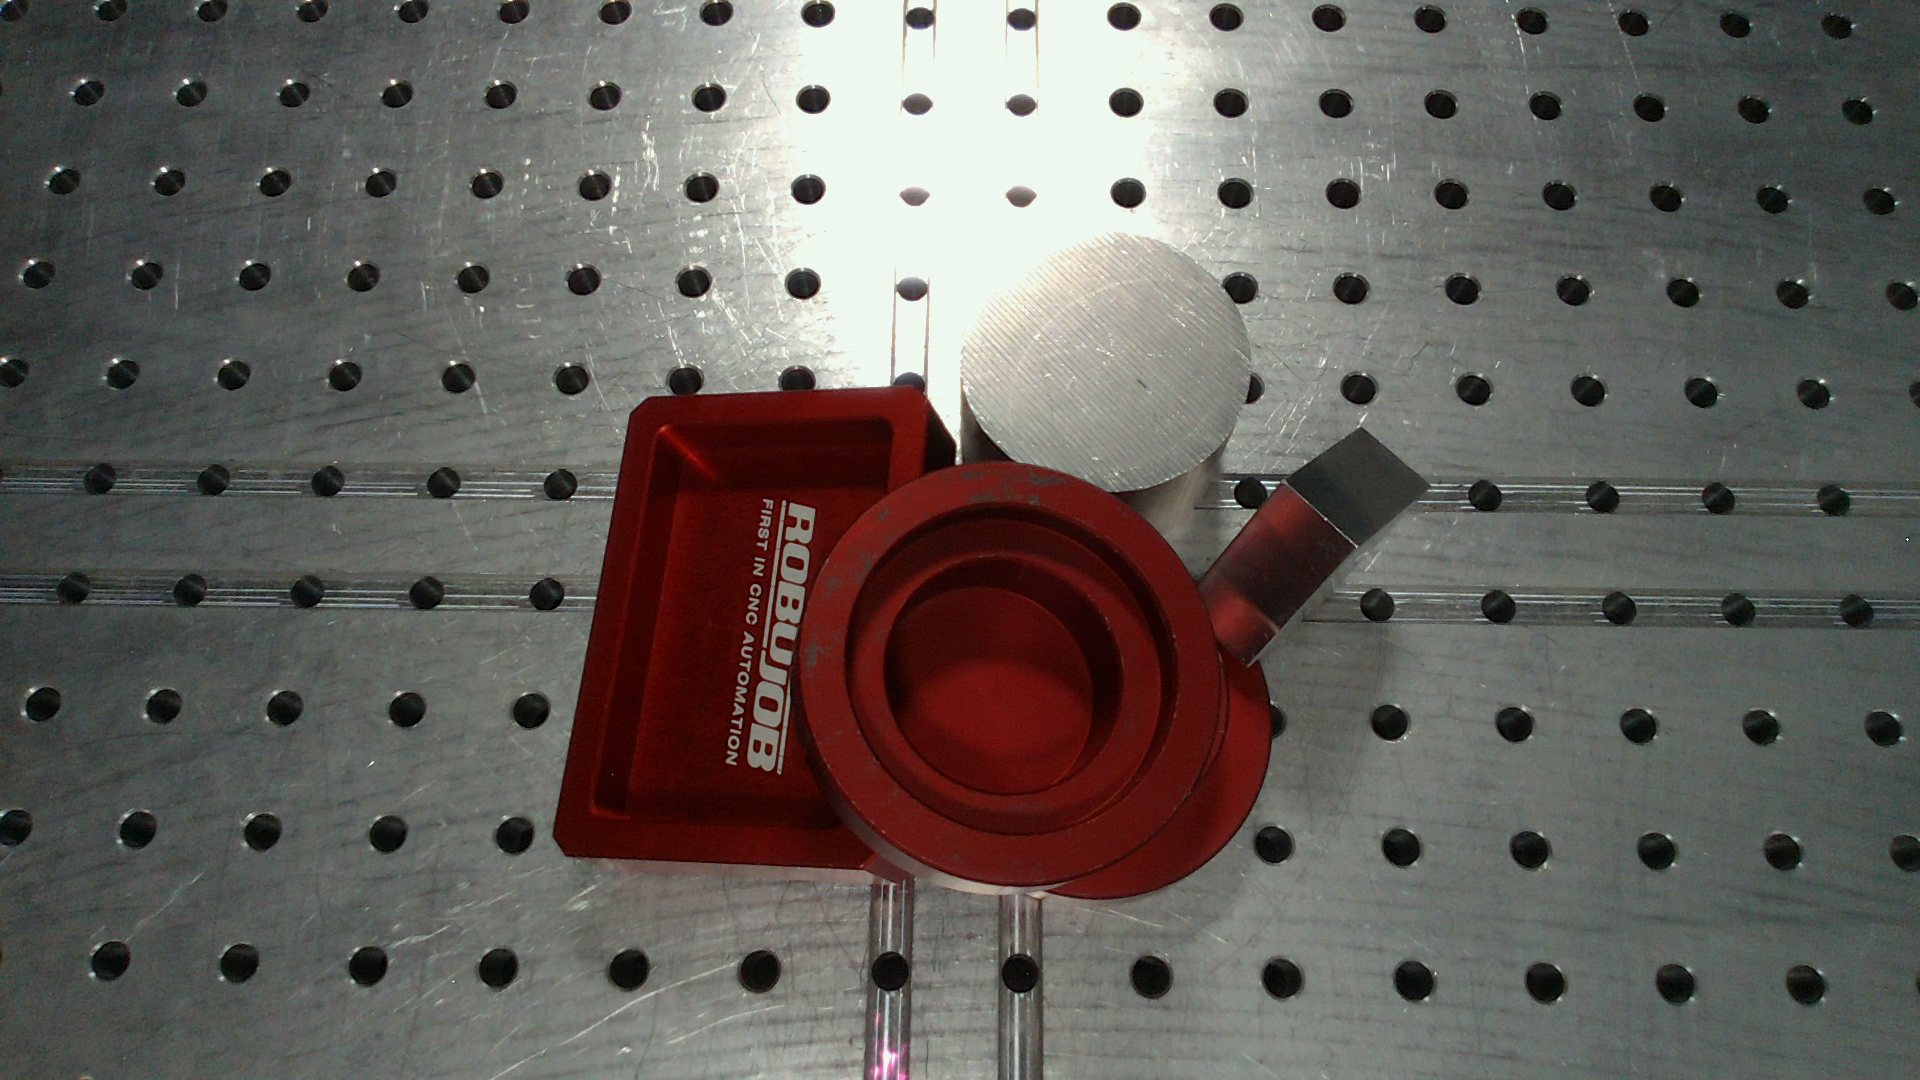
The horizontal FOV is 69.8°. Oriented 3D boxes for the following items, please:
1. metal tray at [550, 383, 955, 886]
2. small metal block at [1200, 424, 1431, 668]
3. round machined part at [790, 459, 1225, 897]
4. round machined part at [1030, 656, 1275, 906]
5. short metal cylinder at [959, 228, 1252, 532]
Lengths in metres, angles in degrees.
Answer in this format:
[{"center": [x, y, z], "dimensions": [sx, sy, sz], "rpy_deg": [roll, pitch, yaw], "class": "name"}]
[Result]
[{"center": [-0.053, 0.024, 0.374], "dimensions": [0.090, 0.030, 0.130], "rpy_deg": [-1, 69, 15], "class": "metal tray"}, {"center": [0.094, 0.001, 0.373], "dimensions": [0.025, 0.050, 0.050], "rpy_deg": [45, 41, 15], "class": "small metal block"}, {"center": [0.009, 0.034, 0.325], "dimensions": [0.098, 0.042, 0.098], "rpy_deg": [3, 71, -10], "class": "round machined part"}, {"center": [0.036, 0.047, 0.370], "dimensions": [0.098, 0.042, 0.098], "rpy_deg": [0, 70, 0], "class": "round machined part"}, {"center": [0.040, -0.042, 0.399], "dimensions": [0.080, 0.050, 0.080], "rpy_deg": [0, 70, 0], "class": "short metal cylinder"}]
